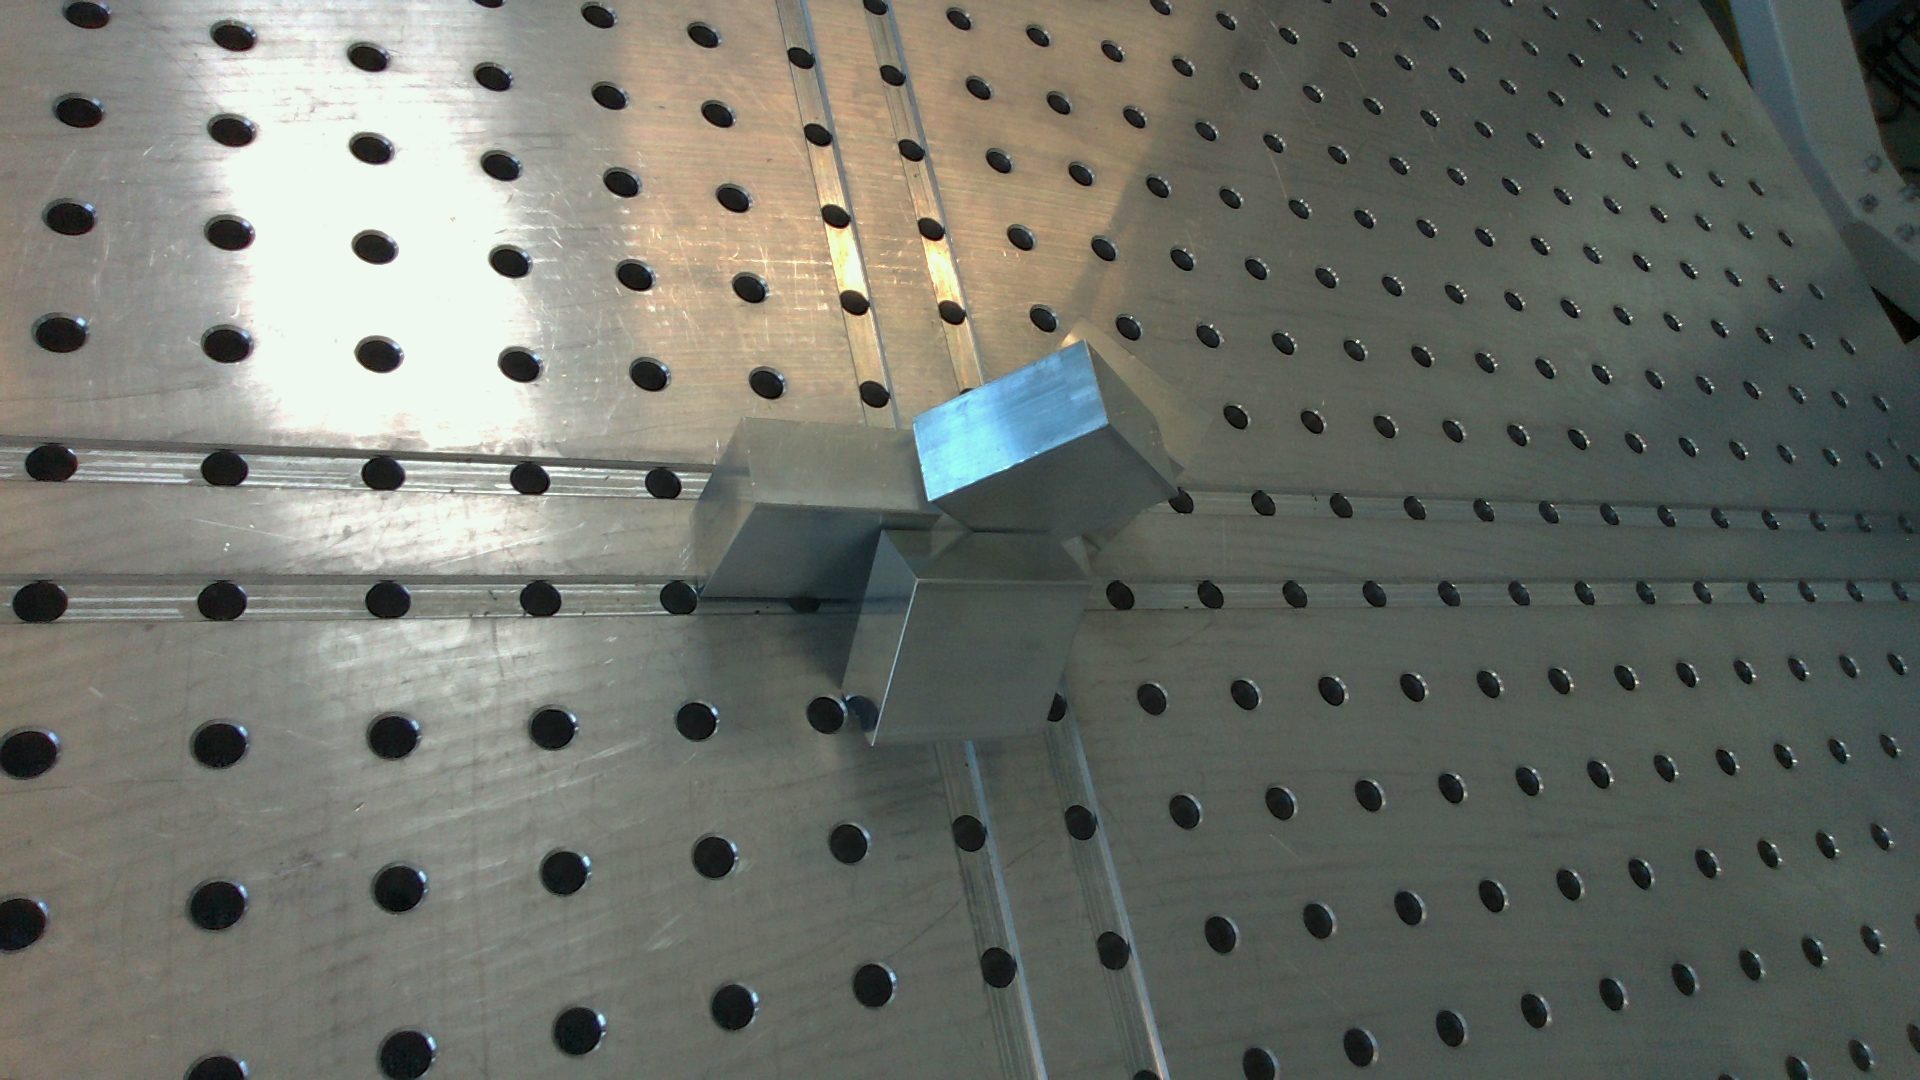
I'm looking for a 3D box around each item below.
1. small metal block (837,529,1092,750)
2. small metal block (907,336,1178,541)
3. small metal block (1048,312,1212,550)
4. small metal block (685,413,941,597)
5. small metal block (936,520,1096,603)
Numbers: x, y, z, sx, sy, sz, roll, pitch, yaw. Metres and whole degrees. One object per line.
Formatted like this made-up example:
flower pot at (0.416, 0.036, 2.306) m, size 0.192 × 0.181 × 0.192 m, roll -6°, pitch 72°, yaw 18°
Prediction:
small metal block at (0.000, 0.026, 0.358) m, size 0.050 × 0.050 × 0.025 m, roll 1°, pitch 29°, yaw -27°
small metal block at (0.022, -0.022, 0.356) m, size 0.050 × 0.050 × 0.025 m, roll 35°, pitch 38°, yaw -56°
small metal block at (0.039, -0.032, 0.417) m, size 0.050 × 0.050 × 0.025 m, roll 37°, pitch 50°, yaw -3°
small metal block at (-0.040, -0.007, 0.359) m, size 0.050 × 0.050 × 0.025 m, roll 1°, pitch 61°, yaw -27°
small metal block at (0.006, -0.001, 0.396) m, size 0.050 × 0.025 × 0.050 m, roll 2°, pitch 60°, yaw -28°
